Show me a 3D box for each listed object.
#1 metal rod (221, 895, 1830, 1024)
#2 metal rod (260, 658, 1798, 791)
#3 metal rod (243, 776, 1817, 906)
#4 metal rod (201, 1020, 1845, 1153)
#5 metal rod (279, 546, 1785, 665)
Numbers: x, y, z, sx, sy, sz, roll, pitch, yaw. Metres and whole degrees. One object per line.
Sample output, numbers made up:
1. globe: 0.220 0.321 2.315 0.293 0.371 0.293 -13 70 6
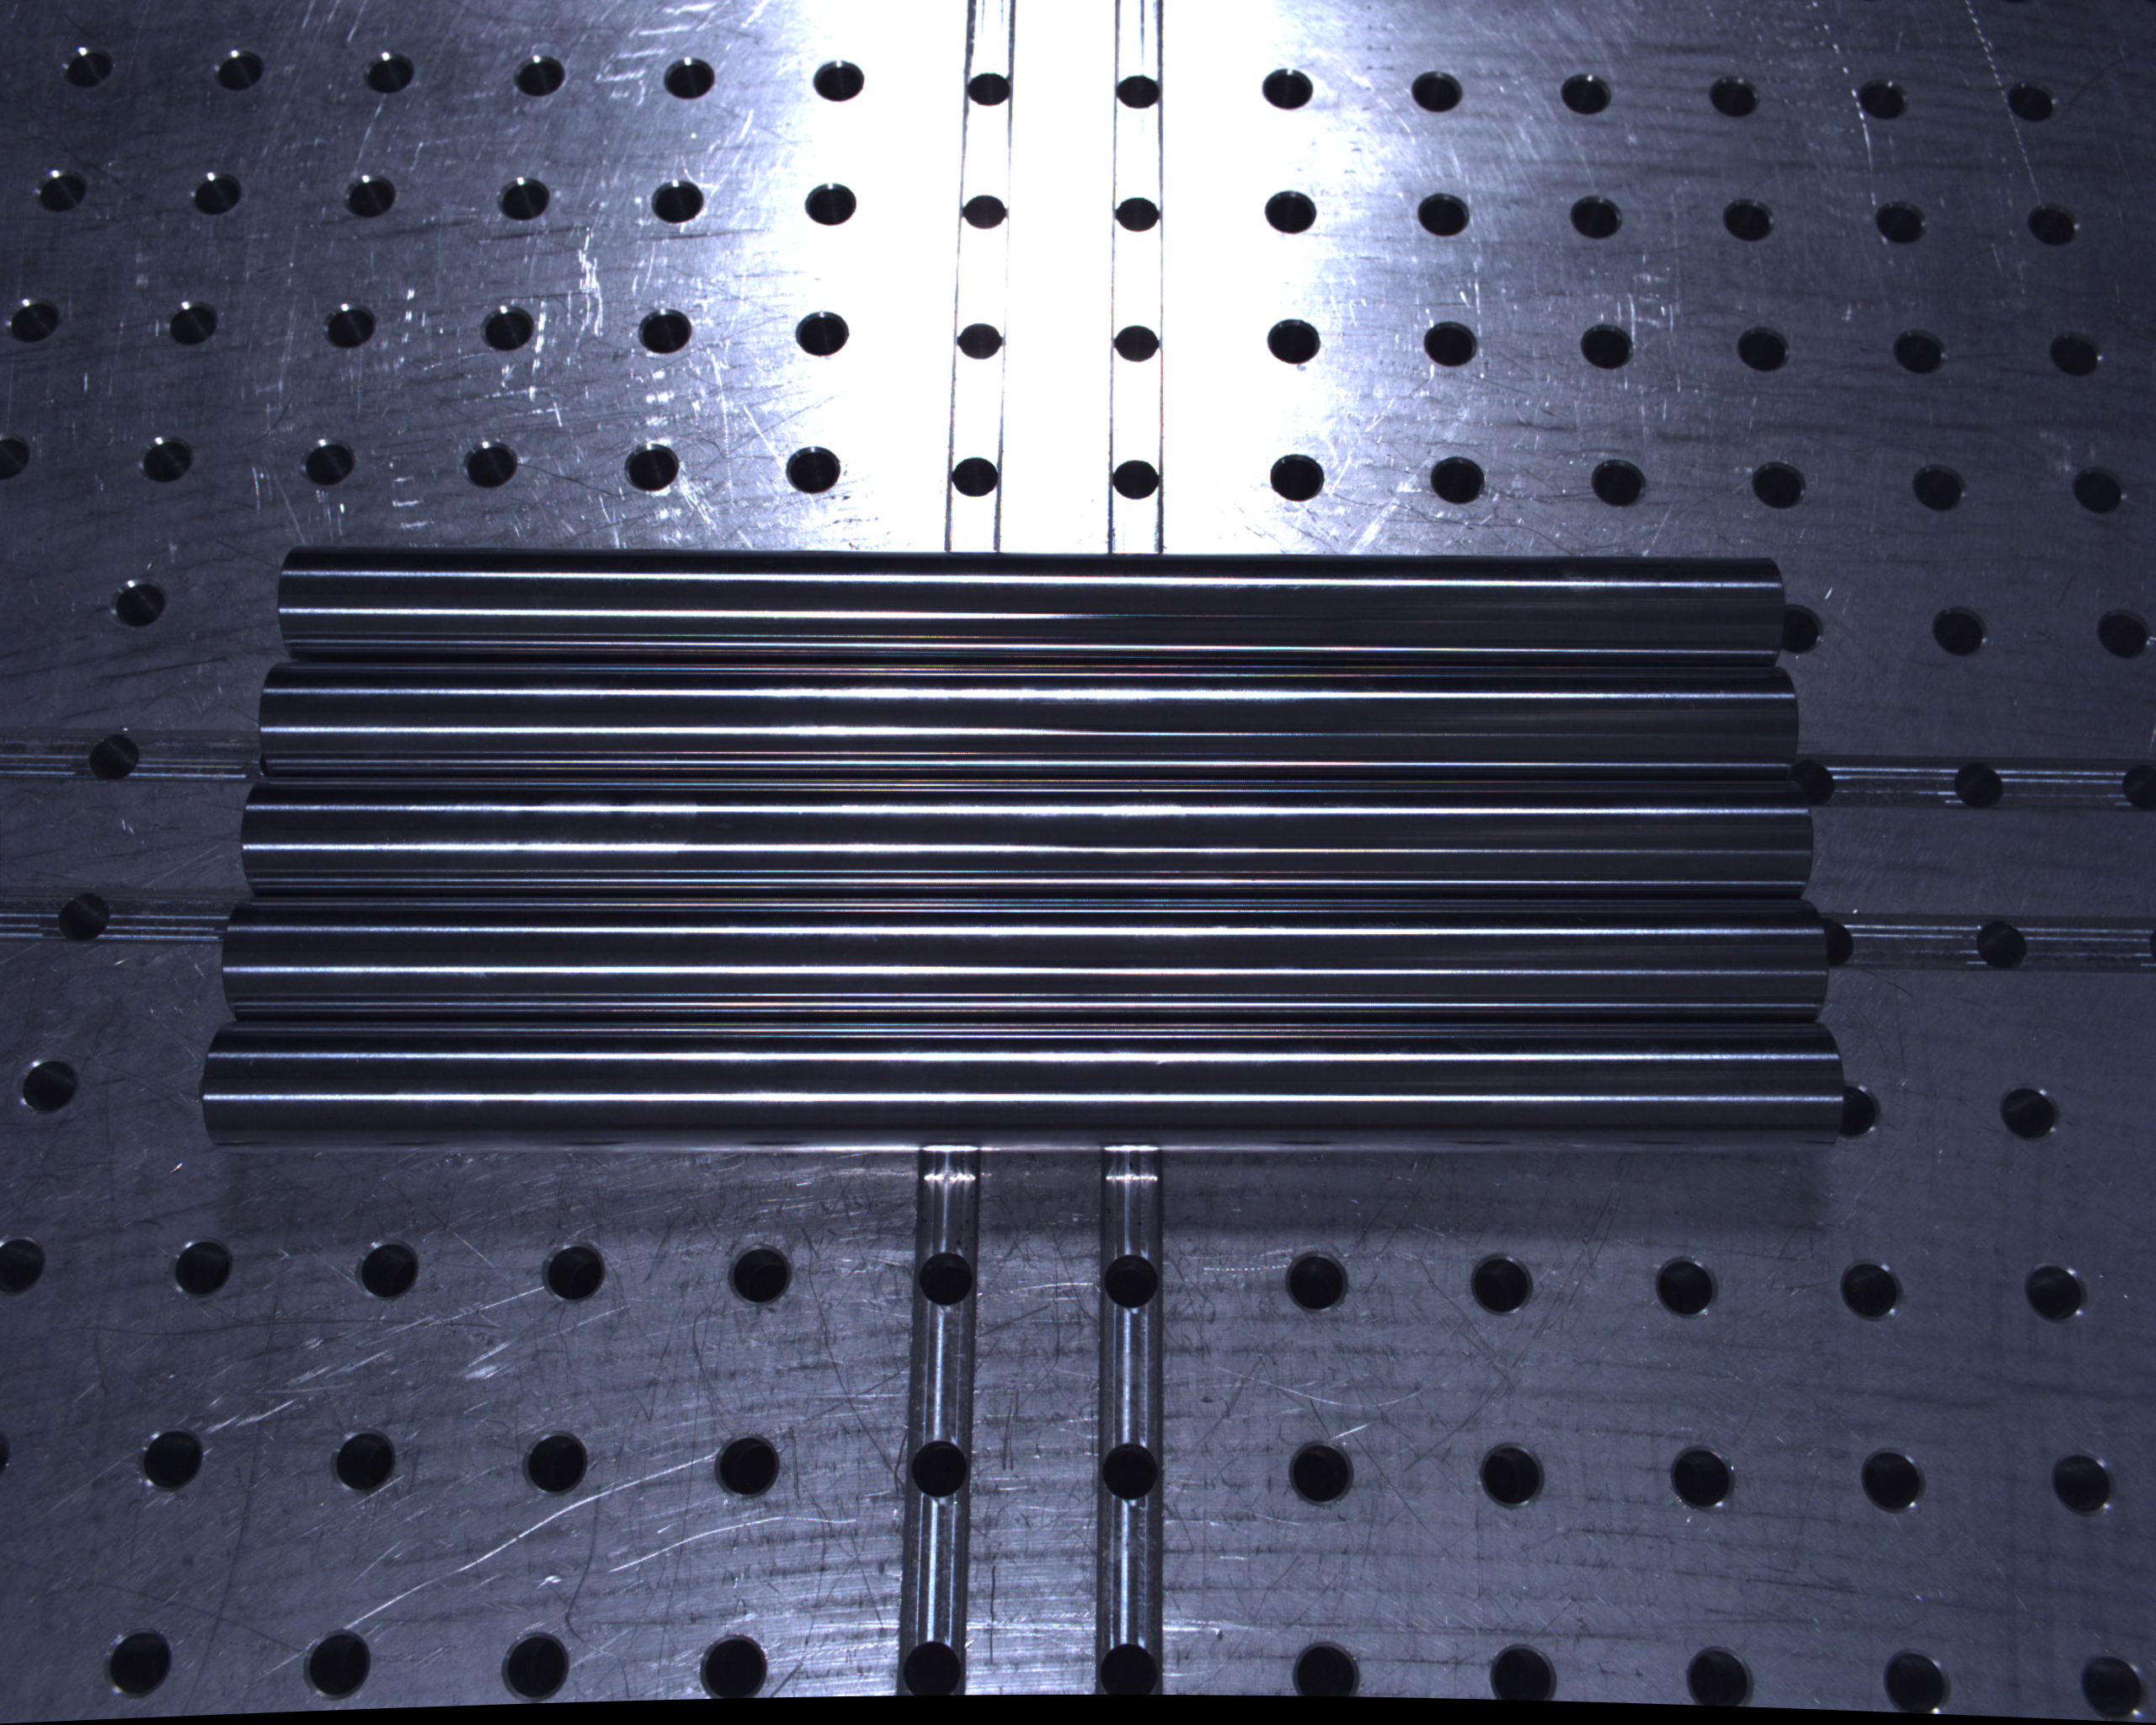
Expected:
1. metal rod: -0.009 0.020 0.404 0.302 0.025 0.025 0 70 -1
2. metal rod: -0.009 -0.028 0.422 0.302 0.025 0.025 0 70 -1
3. metal rod: -0.009 -0.004 0.413 0.302 0.025 0.025 0 70 -1
4. metal rod: -0.009 0.042 0.396 0.302 0.025 0.025 0 70 -1
5. metal rod: -0.009 -0.051 0.430 0.302 0.025 0.025 0 70 -1
